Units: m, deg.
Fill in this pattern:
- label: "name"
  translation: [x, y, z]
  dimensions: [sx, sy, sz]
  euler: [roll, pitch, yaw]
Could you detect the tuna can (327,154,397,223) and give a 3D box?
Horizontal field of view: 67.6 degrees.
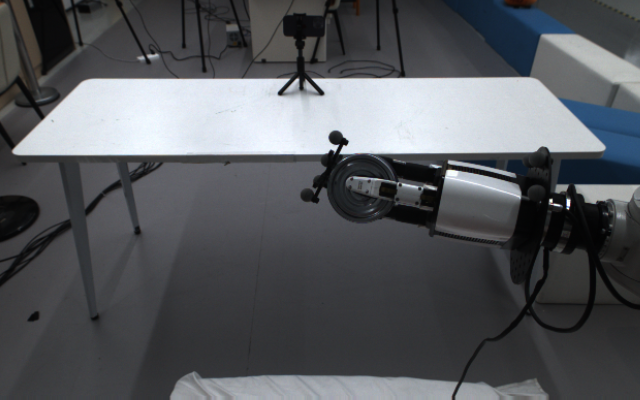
- label: "tuna can"
  translation: [0.055, -0.017, 0.595]
  dimensions: [0.085, 0.085, 0.034]
  euler: [8, 4, 9]
